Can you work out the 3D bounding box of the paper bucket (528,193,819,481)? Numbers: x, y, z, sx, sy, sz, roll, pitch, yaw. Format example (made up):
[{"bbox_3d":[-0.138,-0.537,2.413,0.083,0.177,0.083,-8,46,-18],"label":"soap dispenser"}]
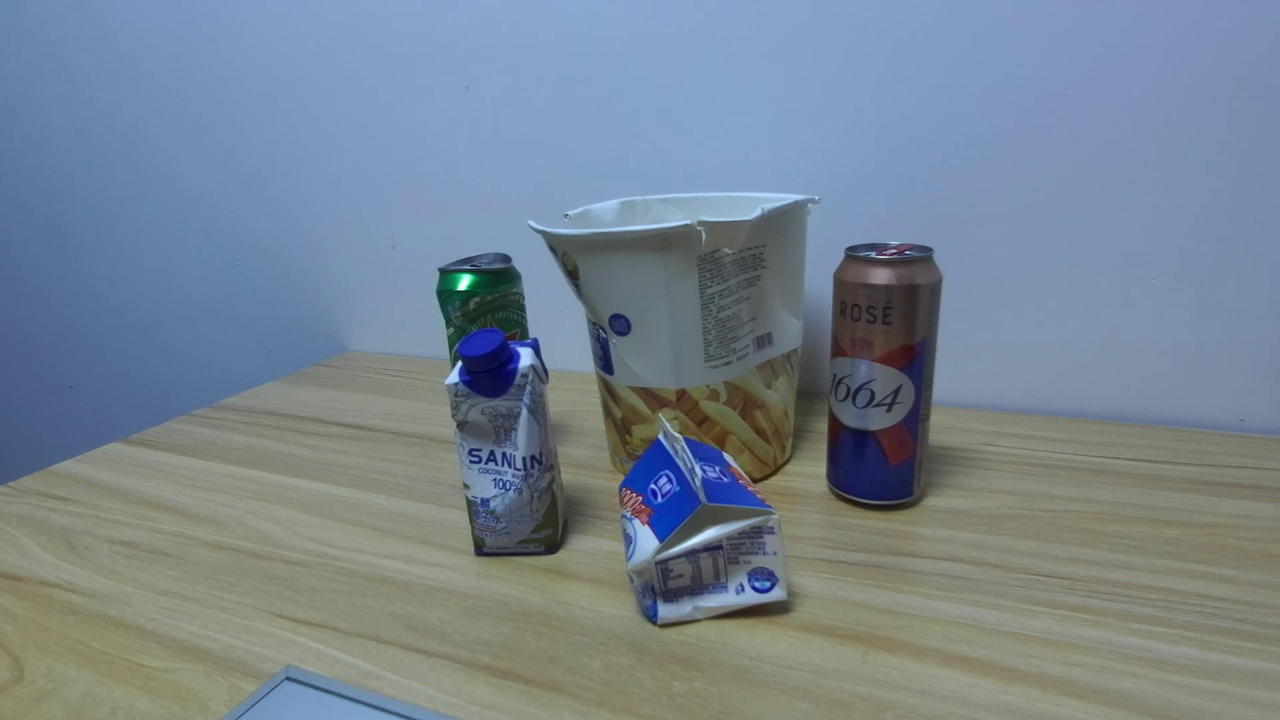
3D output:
[{"bbox_3d":[0.039,-0.022,0.538,0.145,0.197,0.203,7,21,33],"label":"paper bucket"}]

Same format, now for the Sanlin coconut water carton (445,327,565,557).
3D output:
[{"bbox_3d":[-0.083,0.047,0.441,0.061,0.144,0.070,-3,19,5],"label":"Sanlin coconut water carton"}]

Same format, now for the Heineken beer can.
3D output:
[{"bbox_3d":[-0.109,0.007,0.543,0.078,0.164,0.066,-15,13,-31],"label":"Heineken beer can"}]

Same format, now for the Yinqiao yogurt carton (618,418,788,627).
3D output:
[{"bbox_3d":[0.026,0.084,0.381,0.080,0.097,0.074,-15,20,-8],"label":"Yinqiao yogurt carton"}]
